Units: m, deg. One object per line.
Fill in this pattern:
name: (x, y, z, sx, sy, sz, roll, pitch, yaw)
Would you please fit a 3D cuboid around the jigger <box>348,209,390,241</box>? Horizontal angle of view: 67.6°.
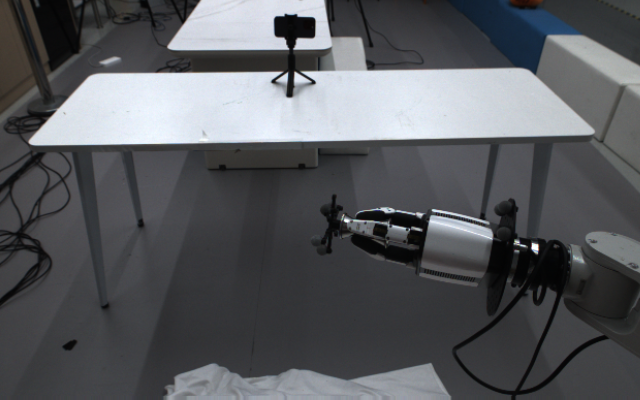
jigger: (0.072, 0.037, 0.690, 0.071, 0.043, 0.043, 7, 35, 16)
